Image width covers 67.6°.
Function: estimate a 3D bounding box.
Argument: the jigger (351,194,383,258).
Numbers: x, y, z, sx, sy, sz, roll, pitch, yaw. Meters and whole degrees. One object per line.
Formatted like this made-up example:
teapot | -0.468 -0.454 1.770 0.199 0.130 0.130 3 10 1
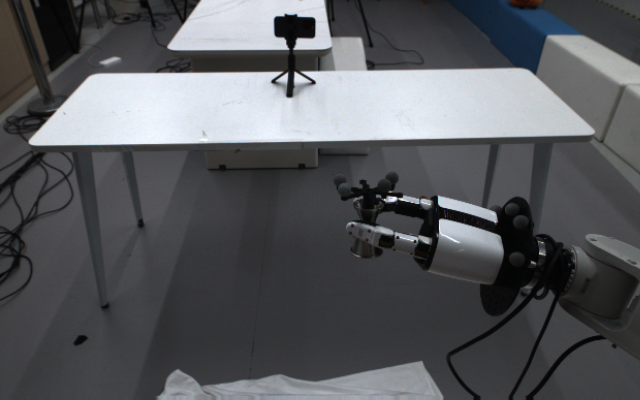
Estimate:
jigger | 0.062 0.036 0.639 0.043 0.071 0.043 0 21 0
